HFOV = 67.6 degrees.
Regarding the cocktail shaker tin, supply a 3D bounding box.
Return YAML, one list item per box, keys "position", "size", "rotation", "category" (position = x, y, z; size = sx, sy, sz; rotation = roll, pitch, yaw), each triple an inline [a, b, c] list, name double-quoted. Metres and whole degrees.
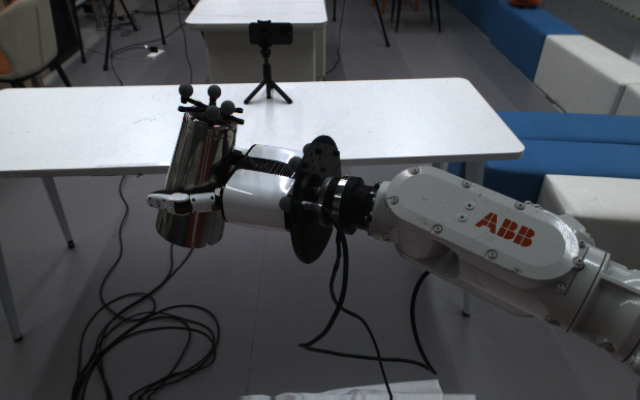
- position: [-0.157, -0.034, 0.636]
  size: [0.093, 0.170, 0.093]
  rotation: [15, 27, -8]
  category: "cocktail shaker tin"
